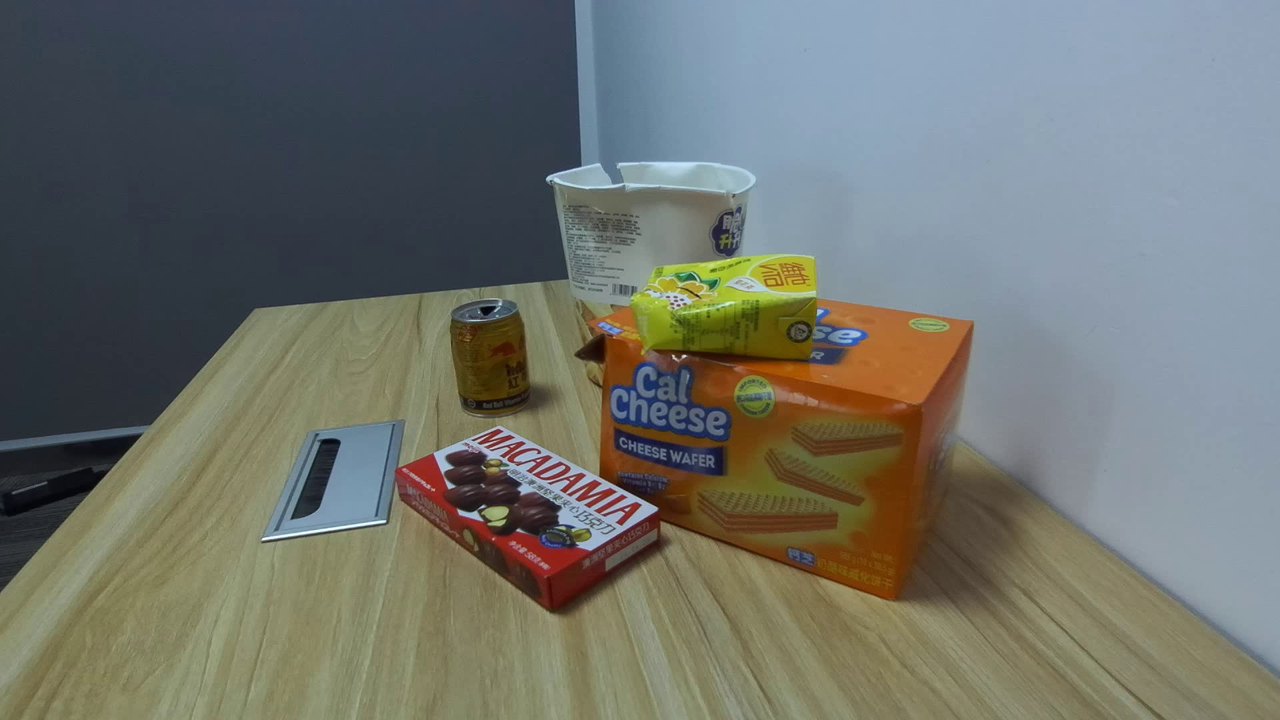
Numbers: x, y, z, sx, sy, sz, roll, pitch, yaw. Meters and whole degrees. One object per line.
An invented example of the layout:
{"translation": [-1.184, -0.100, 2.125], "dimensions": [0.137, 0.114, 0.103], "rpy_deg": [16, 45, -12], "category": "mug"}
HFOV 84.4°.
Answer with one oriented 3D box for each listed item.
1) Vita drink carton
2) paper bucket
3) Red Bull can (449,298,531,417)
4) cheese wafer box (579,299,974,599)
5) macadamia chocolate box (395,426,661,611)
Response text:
{"translation": [0.054, -0.032, 0.437], "dimensions": [0.108, 0.042, 0.087], "rpy_deg": [0, 31, 13], "category": "Vita drink carton"}
{"translation": [0.012, -0.084, 0.684], "dimensions": [0.202, 0.197, 0.146], "rpy_deg": [7, 24, 18], "category": "paper bucket"}
{"translation": [-0.137, -0.002, 0.646], "dimensions": [0.068, 0.093, 0.068], "rpy_deg": [-1, 20, 1], "category": "Red Bull can"}
{"translation": [0.091, 0.033, 0.483], "dimensions": [0.226, 0.137, 0.150], "rpy_deg": [13, 28, 30], "category": "cheese wafer box"}
{"translation": [-0.081, 0.099, 0.487], "dimensions": [0.177, 0.027, 0.096], "rpy_deg": [19, 30, 41], "category": "macadamia chocolate box"}
